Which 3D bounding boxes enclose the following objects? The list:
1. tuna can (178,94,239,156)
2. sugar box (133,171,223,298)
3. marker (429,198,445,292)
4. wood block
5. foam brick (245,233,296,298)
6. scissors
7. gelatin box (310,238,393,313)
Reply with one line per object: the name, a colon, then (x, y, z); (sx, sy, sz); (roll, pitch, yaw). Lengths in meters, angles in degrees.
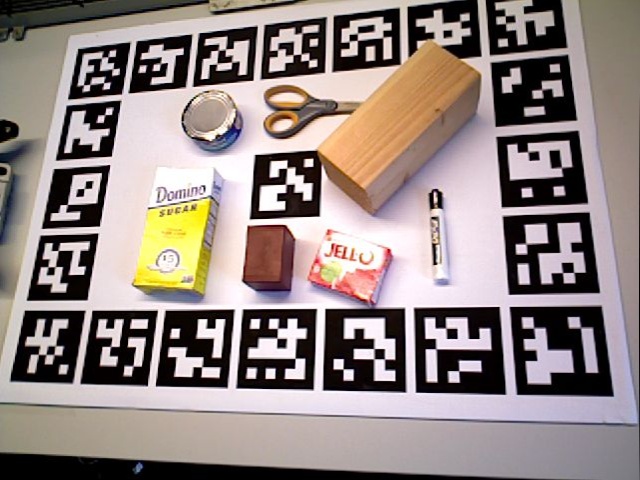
tuna can: (-0.165, -0.170, 0.808); (0.086, 0.034, 0.085); (-4, 73, 12)
sugar box: (-0.198, -0.008, 0.766); (0.093, 0.045, 0.175); (3, 74, 13)
marker: (0.149, 0.004, 0.690); (0.020, 0.020, 0.120); (0, 76, 13)
wood block: (0.112, -0.133, 0.707); (0.206, 0.091, 0.090); (-45, 68, -4)
foam brick: (-0.063, 0.034, 0.712); (0.053, 0.051, 0.077); (0, 74, 13)
scissors: (0.007, -0.179, 0.783); (0.203, 0.016, 0.087); (5, 75, 17)
gelatin box: (0.040, 0.045, 0.700); (0.089, 0.030, 0.073); (17, 79, 18)
